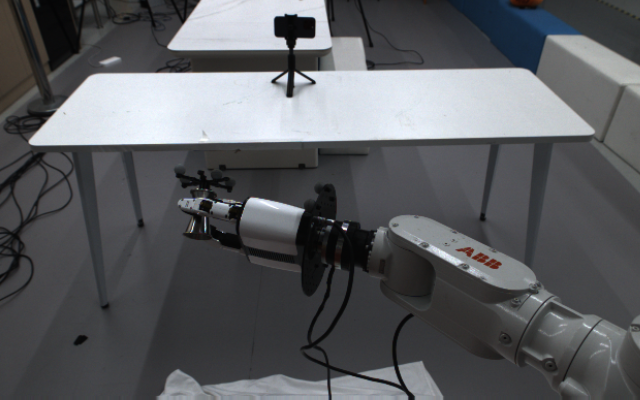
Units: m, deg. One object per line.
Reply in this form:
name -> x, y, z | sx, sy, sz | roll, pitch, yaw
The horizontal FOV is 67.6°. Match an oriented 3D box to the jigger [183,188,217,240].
jigger -> -0.178, 0.021, 0.715 | 0.043, 0.043, 0.071 | 3, 73, 1
